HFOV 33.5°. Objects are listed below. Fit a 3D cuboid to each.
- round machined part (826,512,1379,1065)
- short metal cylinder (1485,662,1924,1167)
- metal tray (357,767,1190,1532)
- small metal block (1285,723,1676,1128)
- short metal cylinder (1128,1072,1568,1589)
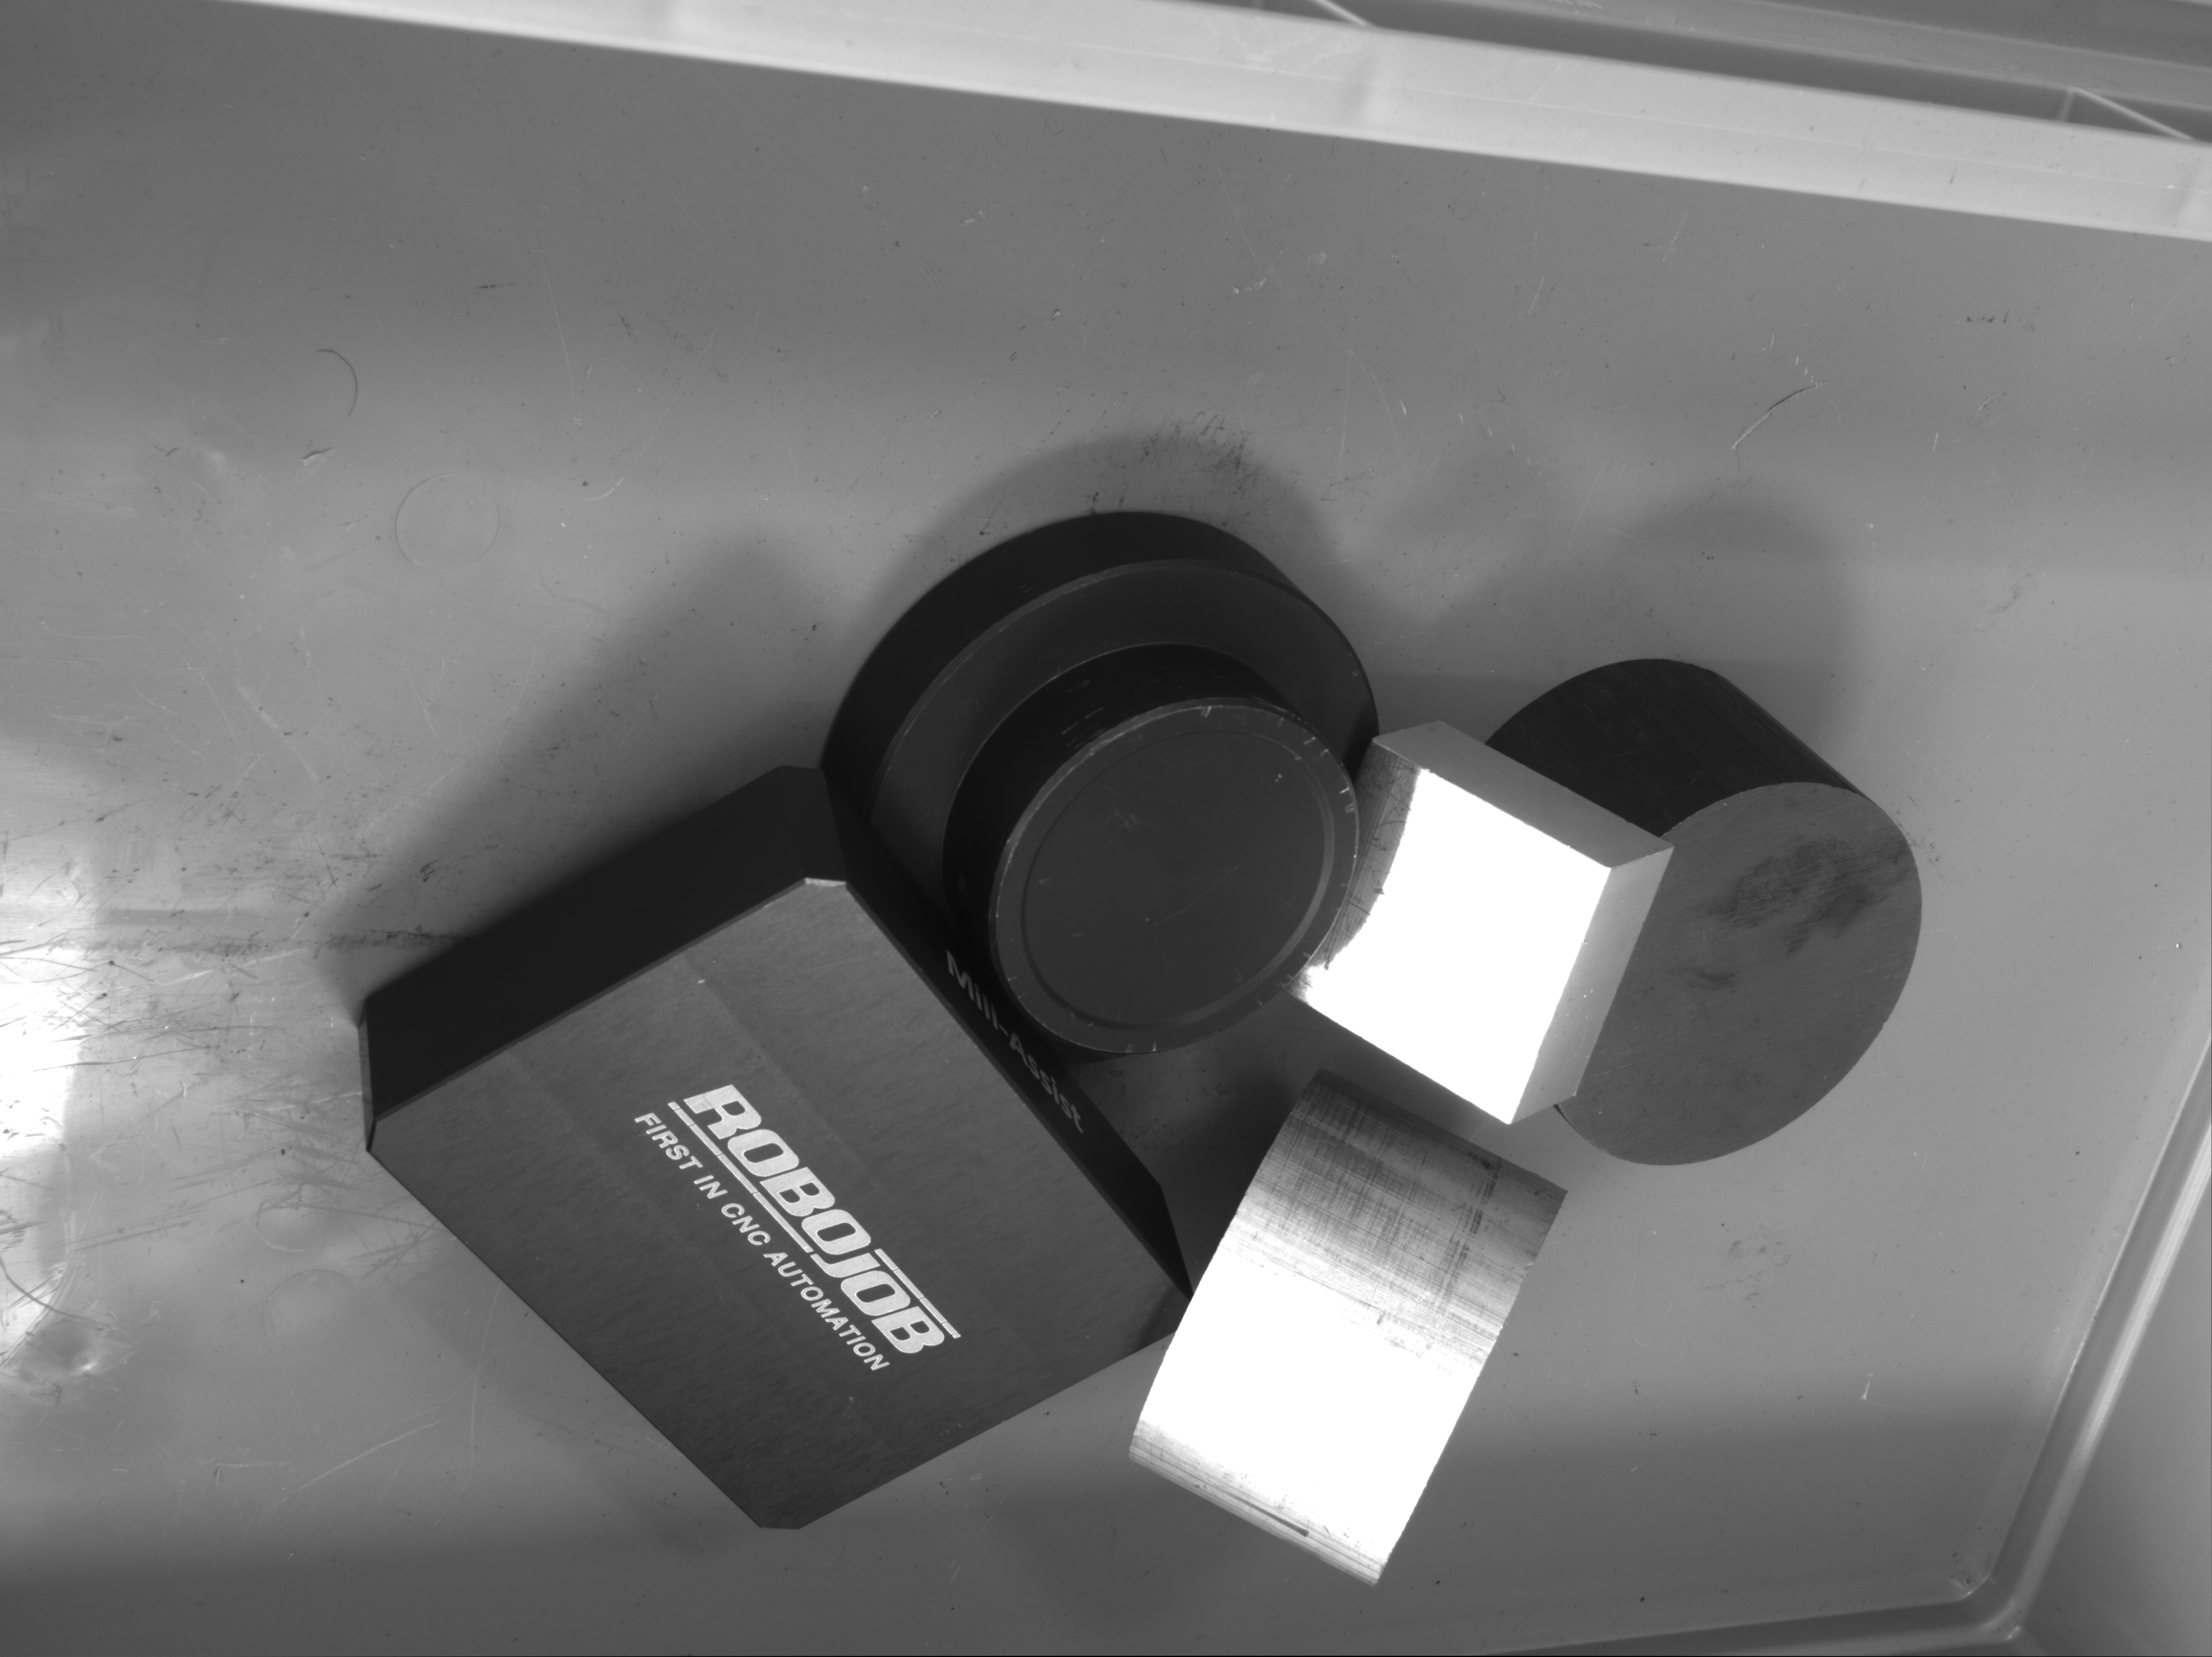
[{"bbox_3d":[0.004,-0.001,0.626,0.098,0.042,0.098,-13,124,-21],"label":"round machined part"},{"bbox_3d":[0.105,0.016,0.686,0.080,0.050,0.080,-13,124,-21],"label":"short metal cylinder"},{"bbox_3d":[-0.054,0.058,0.625,0.090,0.030,0.130,-29,130,9],"label":"metal tray"},{"bbox_3d":[0.064,0.016,0.641,0.025,0.050,0.050,-14,128,-55],"label":"small metal block"},{"bbox_3d":[0.044,0.091,0.672,0.050,0.080,0.080,26,110,8],"label":"short metal cylinder"}]
